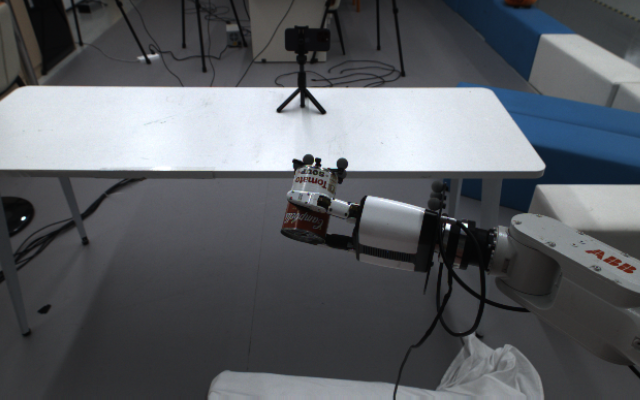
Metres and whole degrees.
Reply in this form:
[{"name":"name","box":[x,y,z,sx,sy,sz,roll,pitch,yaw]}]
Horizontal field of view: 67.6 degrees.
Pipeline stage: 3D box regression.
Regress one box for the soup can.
[{"name":"soup can","box":[-0.014,0.006,0.719,0.067,0.067,0.101,9,72,10]}]
